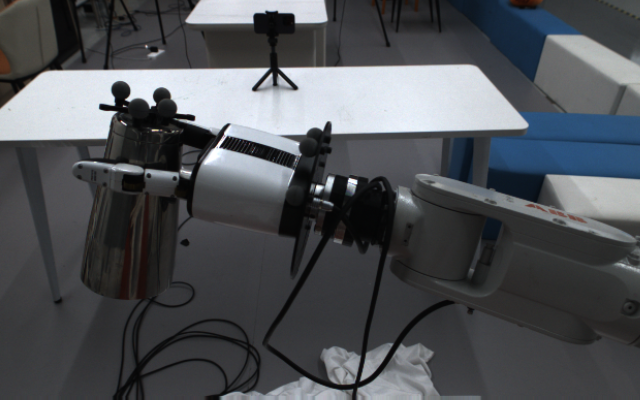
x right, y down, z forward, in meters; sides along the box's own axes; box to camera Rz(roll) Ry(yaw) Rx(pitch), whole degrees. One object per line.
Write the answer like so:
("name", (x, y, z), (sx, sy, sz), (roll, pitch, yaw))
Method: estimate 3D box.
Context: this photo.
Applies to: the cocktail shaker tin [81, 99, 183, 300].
("cocktail shaker tin", (-0.182, 0.002, 0.491), (0.093, 0.170, 0.093), (13, 18, -5))
